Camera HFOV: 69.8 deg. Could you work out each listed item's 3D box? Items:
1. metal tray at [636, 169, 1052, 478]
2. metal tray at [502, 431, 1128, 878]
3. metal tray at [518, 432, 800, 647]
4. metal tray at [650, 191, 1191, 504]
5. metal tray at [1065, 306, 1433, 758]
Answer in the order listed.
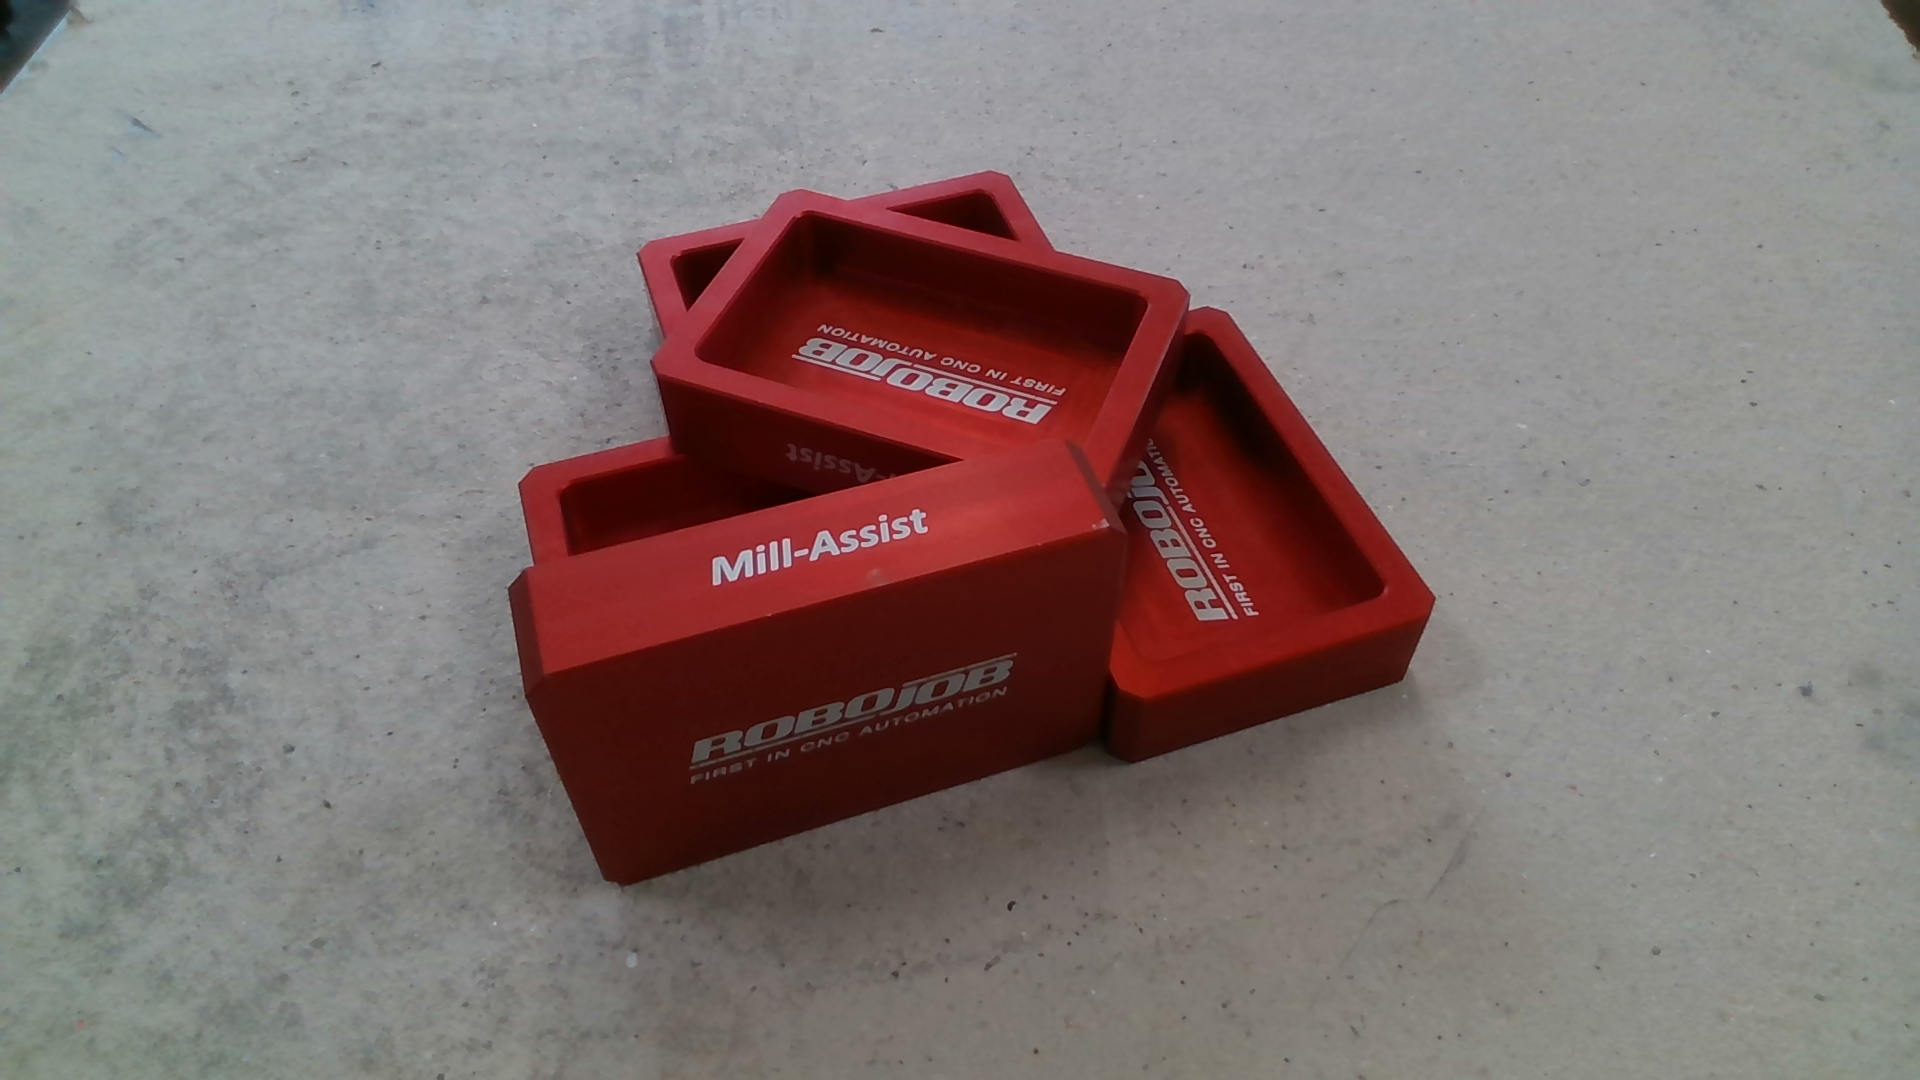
[{"bbox_3d":[-0.032,-0.073,0.450,0.130,0.030,0.090,-14,51,-12],"label":"metal tray"},{"bbox_3d":[-0.030,0.029,0.324,0.130,0.090,0.030,-14,52,-11],"label":"metal tray"},{"bbox_3d":[-0.049,0.004,0.385,0.130,0.030,0.090,-16,51,-11],"label":"metal tray"},{"bbox_3d":[-0.009,-0.050,0.395,0.130,0.030,0.090,16,51,14],"label":"metal tray"},{"bbox_3d":[0.062,-0.008,0.398,0.090,0.030,0.130,-15,51,-12],"label":"metal tray"}]
